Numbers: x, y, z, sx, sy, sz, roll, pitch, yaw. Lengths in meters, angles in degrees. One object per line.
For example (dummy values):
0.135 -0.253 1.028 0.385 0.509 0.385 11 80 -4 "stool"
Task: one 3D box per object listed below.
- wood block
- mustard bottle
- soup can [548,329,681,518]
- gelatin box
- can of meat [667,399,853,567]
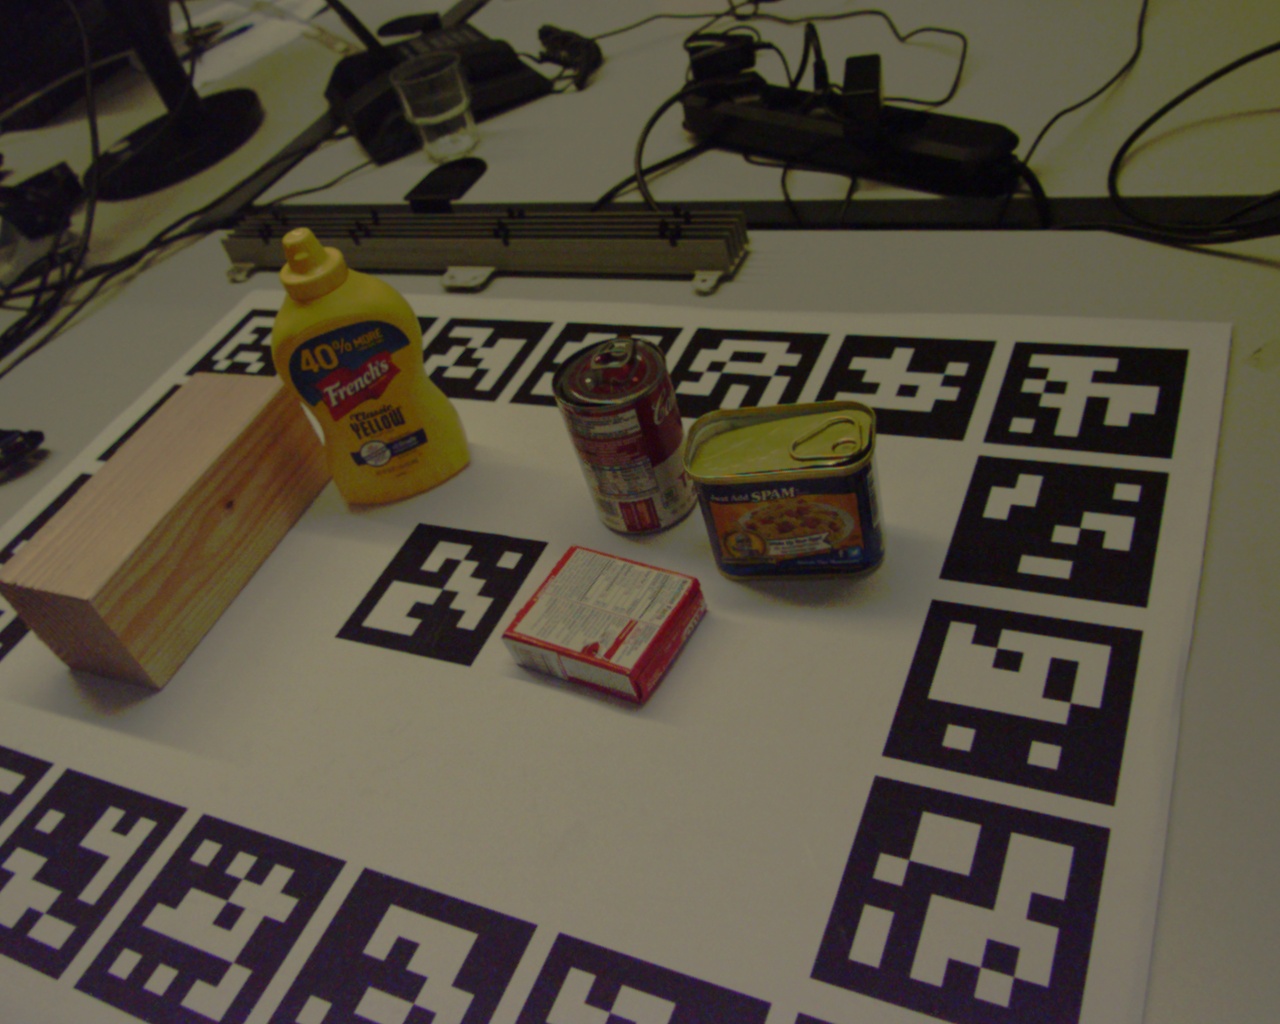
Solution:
-0.312 0.004 0.788 0.092 0.089 0.205 8 44 25 "wood block"
-0.195 -0.092 0.778 0.096 0.190 0.059 -11 41 7 "mustard bottle"
-0.010 -0.054 0.714 0.068 0.101 0.068 -11 43 10 "soup can"
-0.026 0.058 0.660 0.090 0.030 0.073 14 53 35 "gelatin box"
0.073 -0.015 0.668 0.102 0.083 0.058 -2 44 15 "can of meat"
